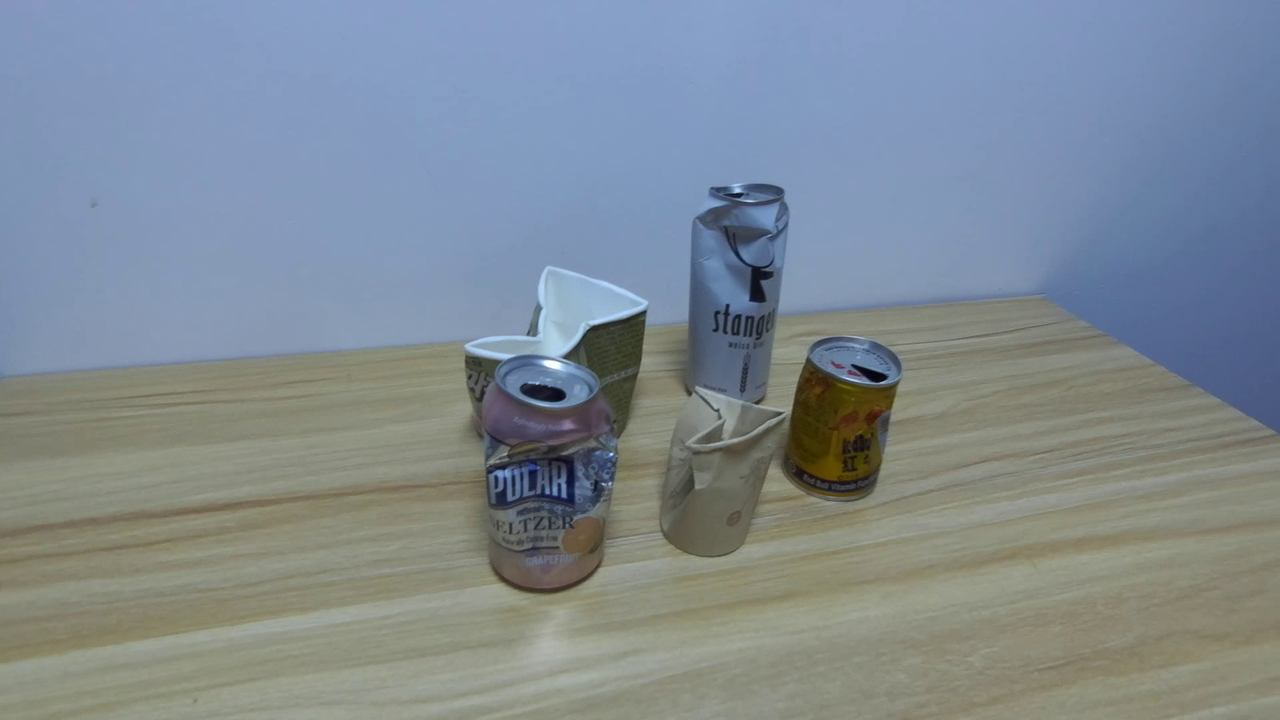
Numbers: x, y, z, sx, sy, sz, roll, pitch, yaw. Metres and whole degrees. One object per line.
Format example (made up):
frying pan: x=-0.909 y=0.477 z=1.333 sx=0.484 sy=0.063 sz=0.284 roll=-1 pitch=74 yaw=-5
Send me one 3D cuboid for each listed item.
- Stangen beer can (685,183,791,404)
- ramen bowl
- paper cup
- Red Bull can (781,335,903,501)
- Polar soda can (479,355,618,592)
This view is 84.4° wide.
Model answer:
Stangen beer can: x=0.072 y=-0.047 z=0.531 sx=0.065 sy=0.166 sz=0.066 roll=13 pitch=30 yaw=19
ramen bowl: x=-0.067 y=0.006 z=0.501 sx=0.111 sy=0.093 sz=0.129 roll=21 pitch=36 yaw=29
paper cup: x=0.040 y=0.065 z=0.418 sx=0.067 sy=0.083 sz=0.058 roll=-23 pitch=37 yaw=-38
Red Bull can: x=0.132 y=0.038 z=0.464 sx=0.072 sy=0.092 sz=0.072 roll=3 pitch=30 yaw=-1
Polar soda can: x=-0.047 y=0.061 z=0.387 sx=0.071 sy=0.122 sz=0.066 roll=3 pitch=26 yaw=-1
